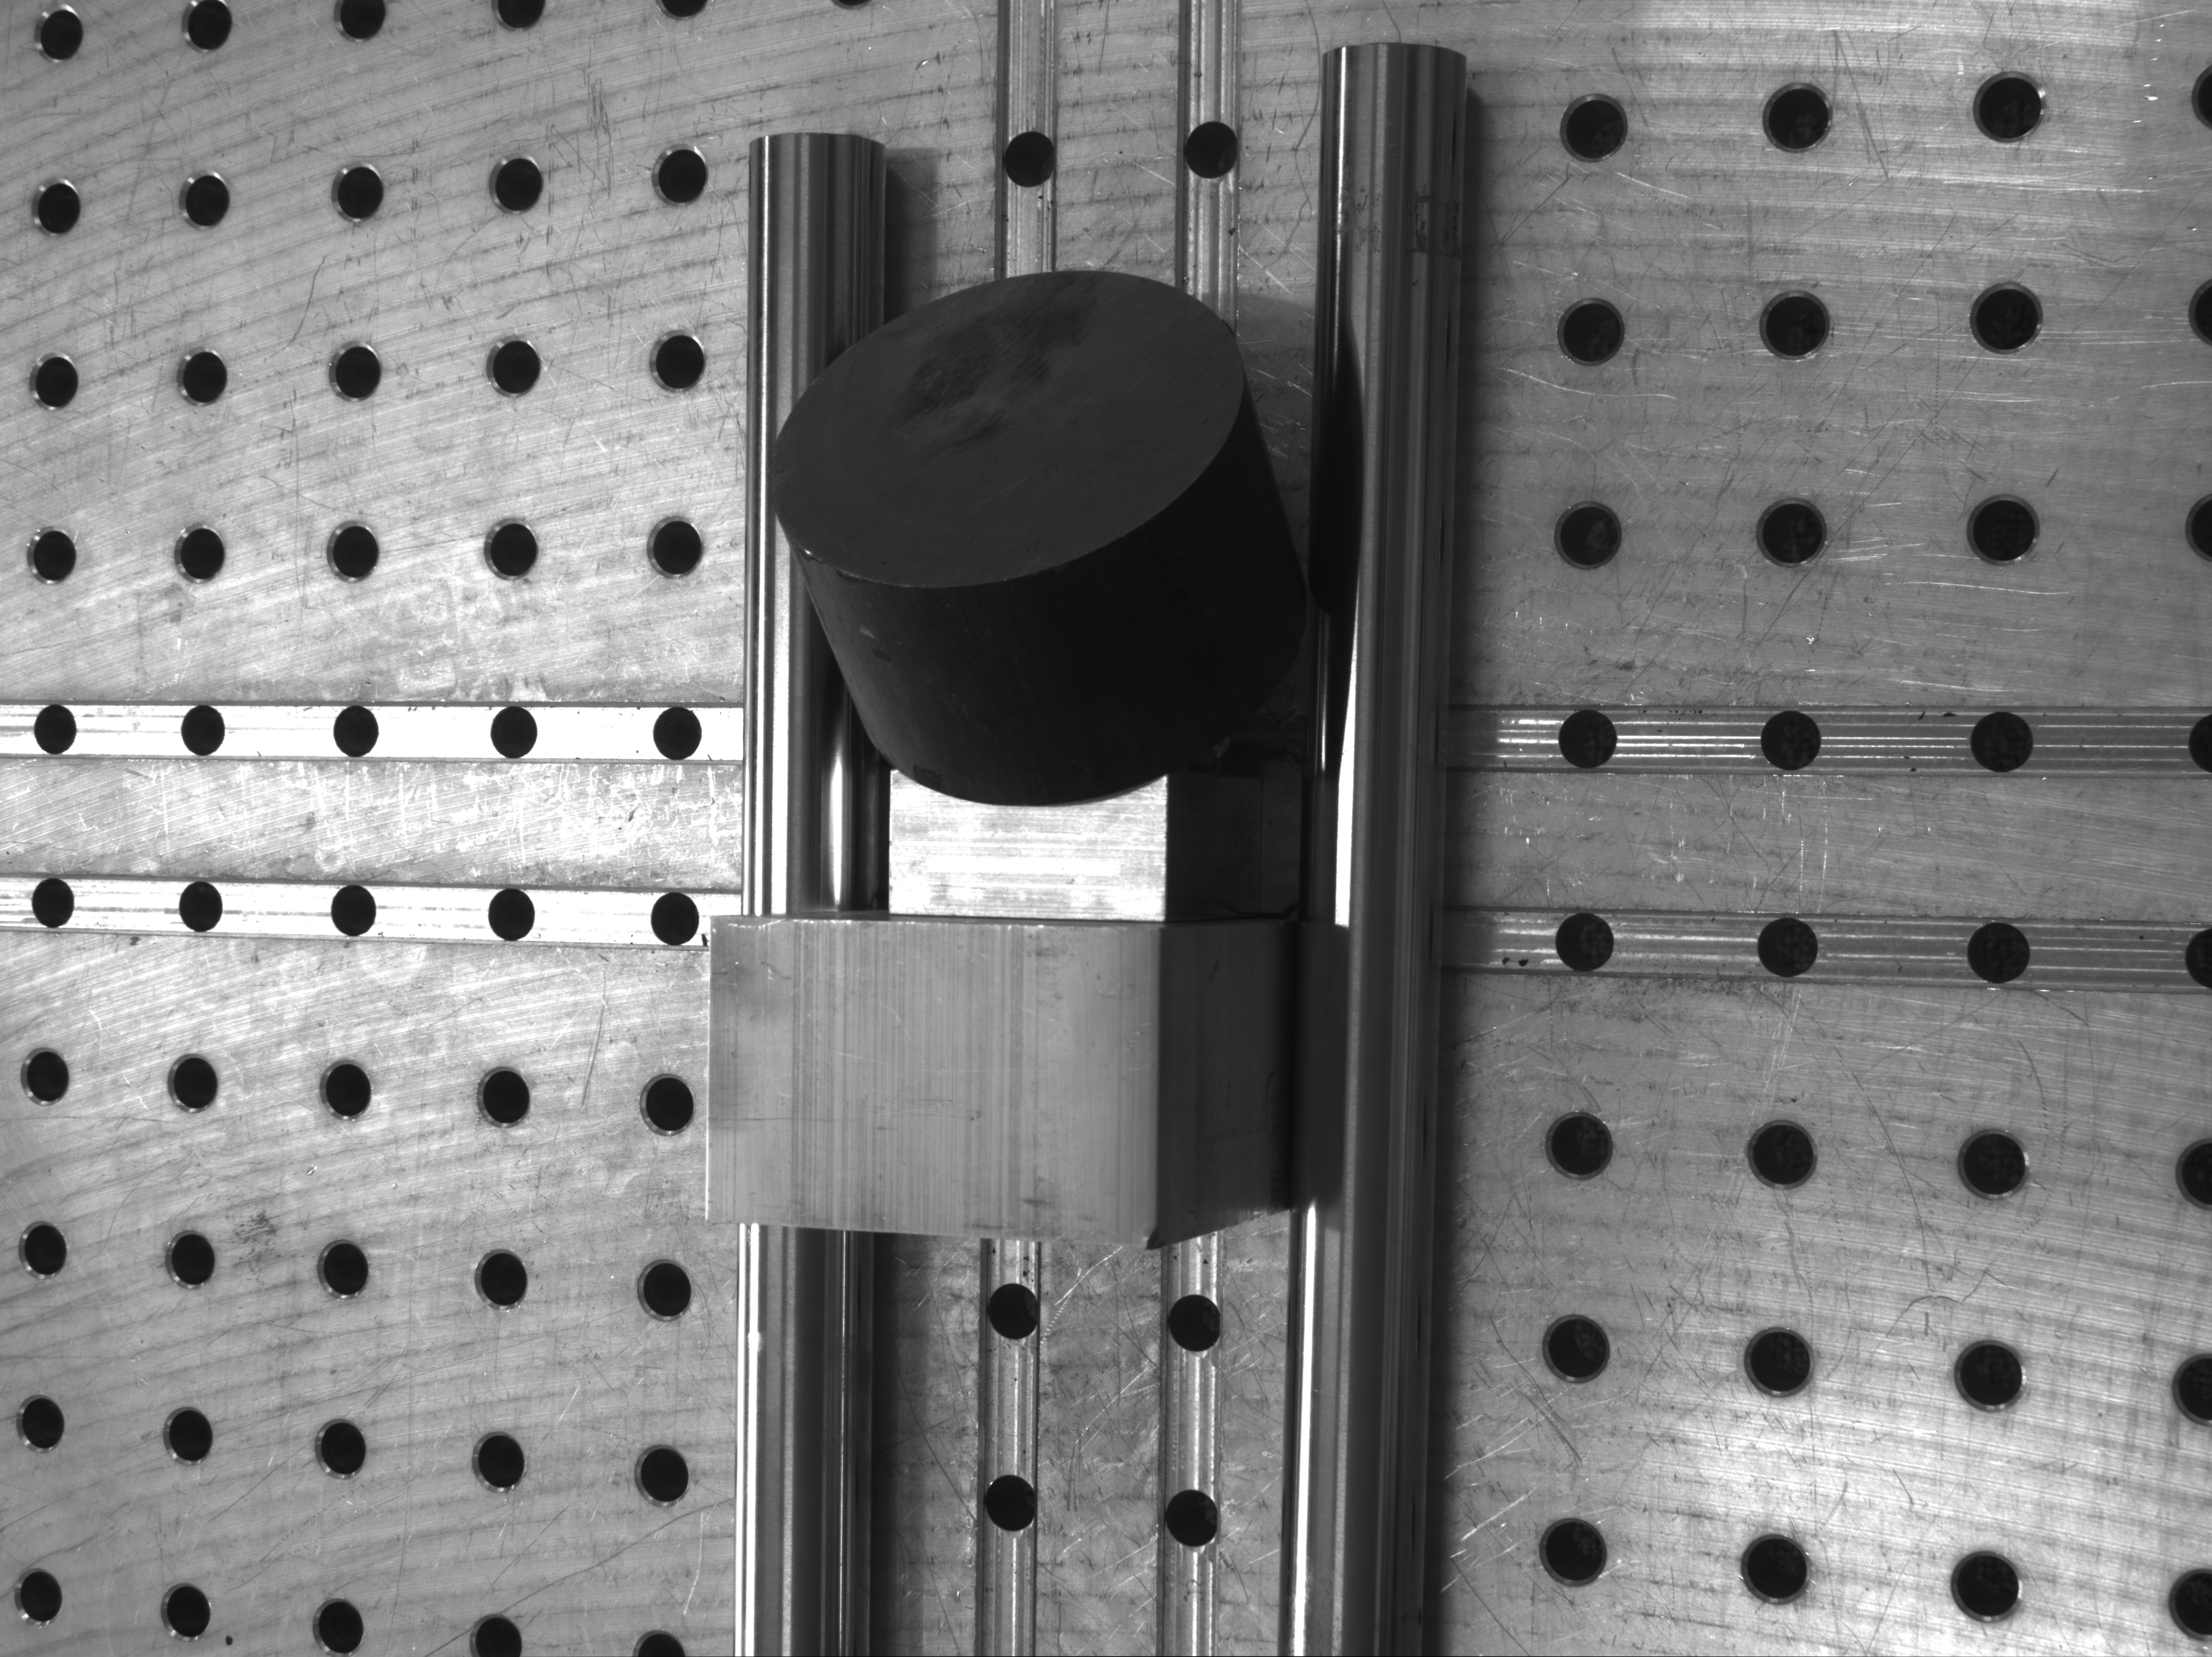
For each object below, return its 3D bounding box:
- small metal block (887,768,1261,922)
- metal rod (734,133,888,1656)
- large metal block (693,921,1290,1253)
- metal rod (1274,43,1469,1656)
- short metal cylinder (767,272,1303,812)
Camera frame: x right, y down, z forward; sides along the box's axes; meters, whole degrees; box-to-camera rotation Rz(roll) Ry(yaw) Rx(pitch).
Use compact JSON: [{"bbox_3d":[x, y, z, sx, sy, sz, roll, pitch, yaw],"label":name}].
[{"bbox_3d":[-0.005,0.003,0.638,0.050,0.050,0.025,2,90,20],"label":"small metal block"},{"bbox_3d":[-0.054,0.026,0.669,0.025,0.025,0.300,1,90,20],"label":"metal rod"},{"bbox_3d":[-0.016,0.041,0.623,0.080,0.080,0.050,1,90,20],"label":"large metal block"},{"bbox_3d":[0.045,0.018,0.633,0.025,0.025,0.300,2,91,20],"label":"metal rod"},{"bbox_3d":[-0.011,-0.049,0.617,0.080,0.050,0.080,-10,43,9],"label":"short metal cylinder"}]
